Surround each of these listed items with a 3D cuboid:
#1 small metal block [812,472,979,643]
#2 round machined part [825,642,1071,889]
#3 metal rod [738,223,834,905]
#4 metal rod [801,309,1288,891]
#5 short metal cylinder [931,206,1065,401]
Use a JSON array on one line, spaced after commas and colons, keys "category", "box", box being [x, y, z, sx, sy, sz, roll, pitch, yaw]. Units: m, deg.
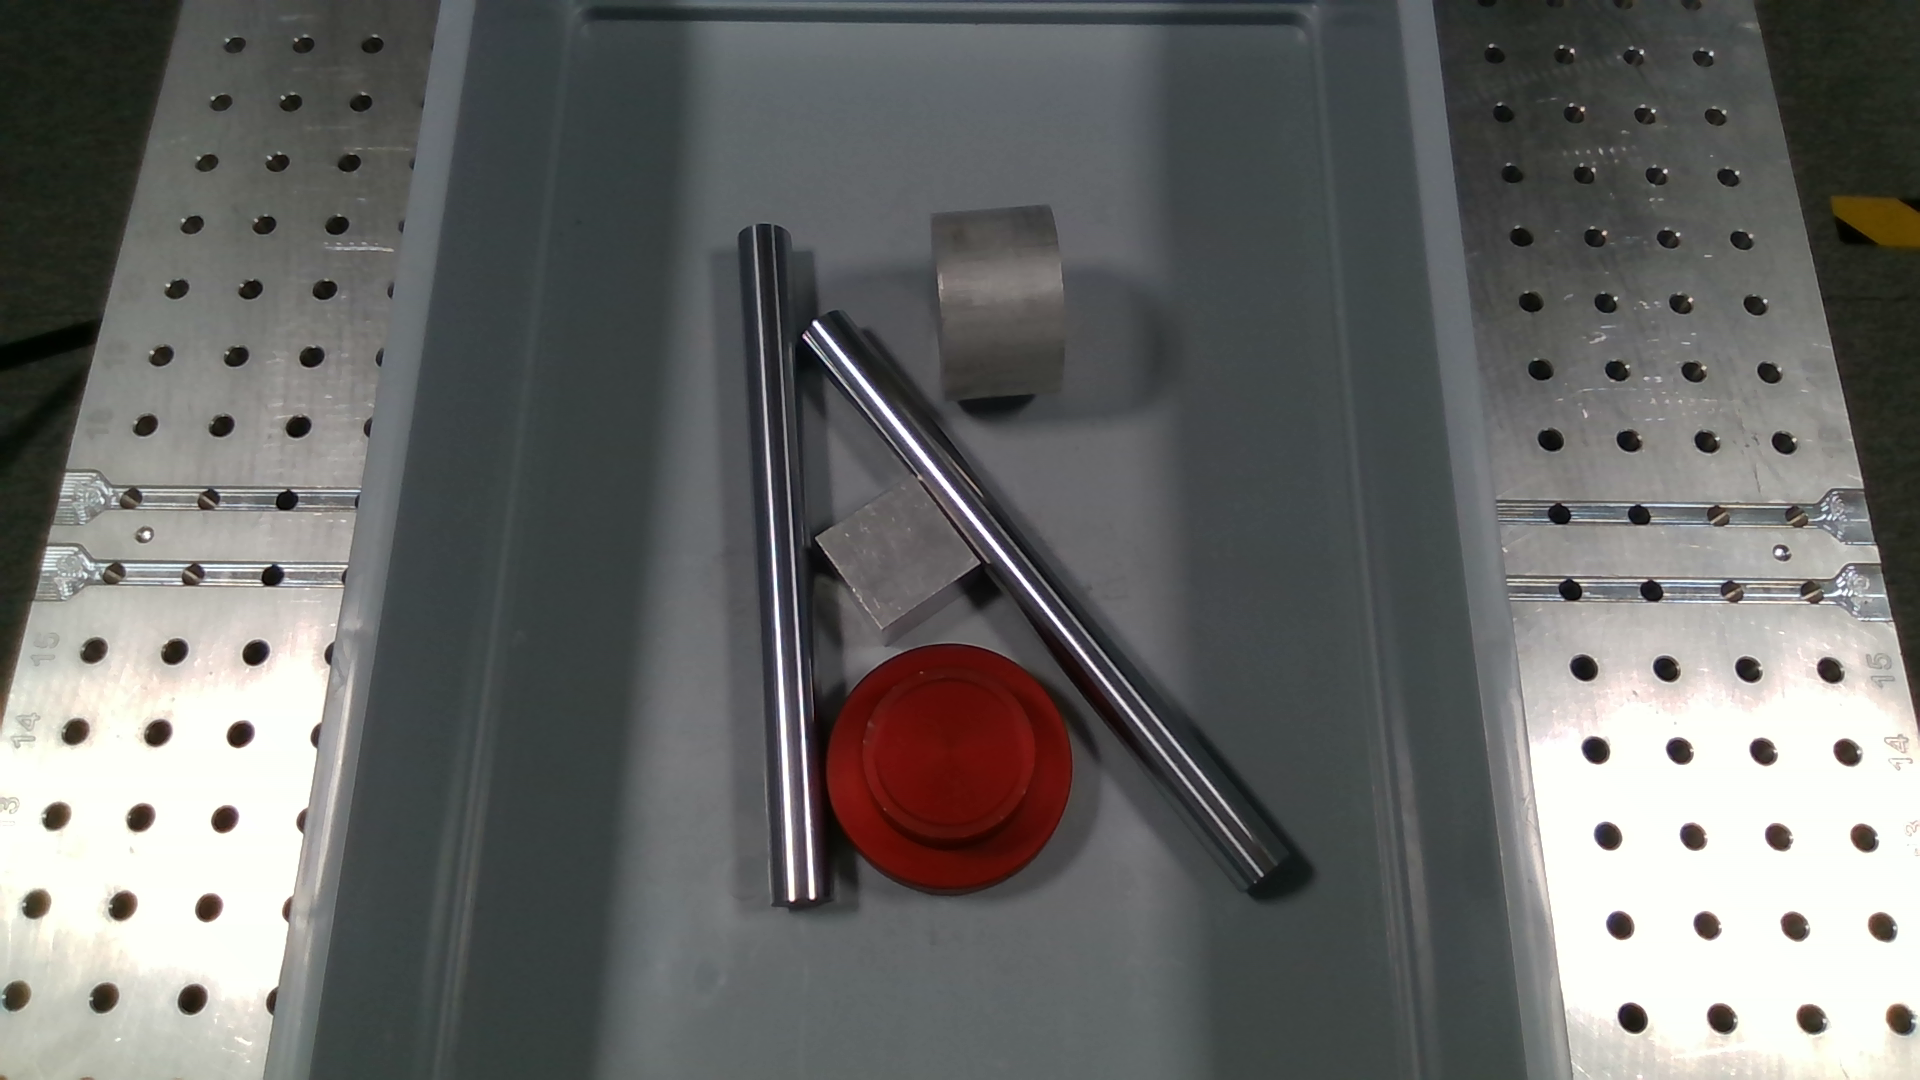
[{"category": "small metal block", "box": [-0.027, 0.008, 0.583, 0.050, 0.025, 0.050, -34, 74, -11]}, {"category": "round machined part", "box": [-0.005, 0.087, 0.545, 0.098, 0.042, 0.098, 0, 70, 0]}, {"category": "metal rod", "box": [-0.076, 0.001, 0.587, 0.025, 0.025, 0.299, -5, 70, -2]}, {"category": "metal rod", "box": [0.029, 0.017, 0.581, 0.025, 0.025, 0.300, -35, 74, -12]}, {"category": "short metal cylinder", "box": [0.015, -0.102, 0.595, 0.050, 0.080, 0.080, -5, 70, -2]}]
